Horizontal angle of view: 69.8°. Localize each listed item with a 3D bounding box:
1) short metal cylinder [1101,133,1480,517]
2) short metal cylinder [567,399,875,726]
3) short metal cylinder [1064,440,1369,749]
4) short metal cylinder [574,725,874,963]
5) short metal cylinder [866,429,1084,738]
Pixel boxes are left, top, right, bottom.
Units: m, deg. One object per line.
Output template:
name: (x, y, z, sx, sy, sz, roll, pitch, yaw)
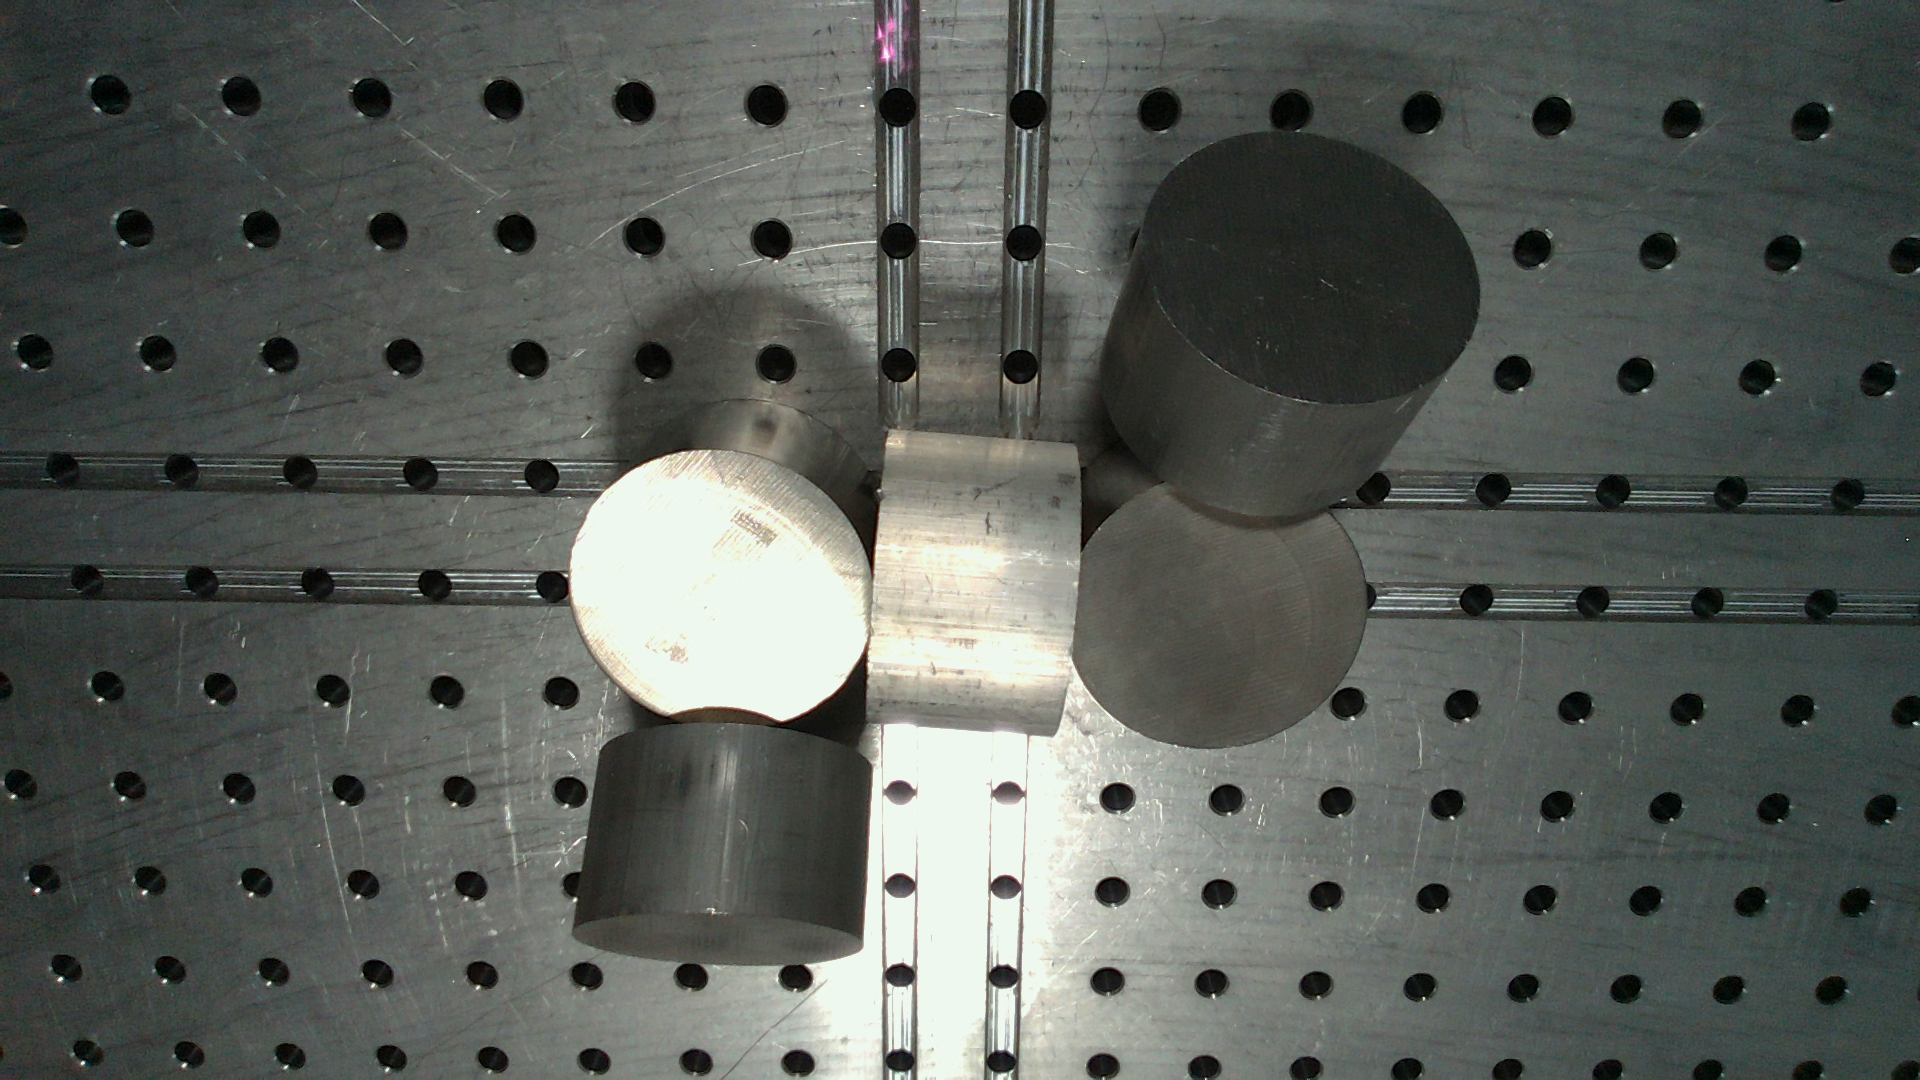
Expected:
short metal cylinder: (0.079, -0.053, 0.341, 0.080, 0.080, 0.050, 8, 152, -3)
short metal cylinder: (-0.063, 0.006, 0.384, 0.080, 0.050, 0.080, 0, 110, 0)
short metal cylinder: (0.068, 0.011, 0.387, 0.080, 0.050, 0.080, 0, 110, 0)
short metal cylinder: (-0.066, 0.089, 0.394, 0.080, 0.050, 0.080, 1, 154, 1)
short metal cylinder: (0.003, 0.012, 0.371, 0.050, 0.080, 0.080, 4, 110, -2)
